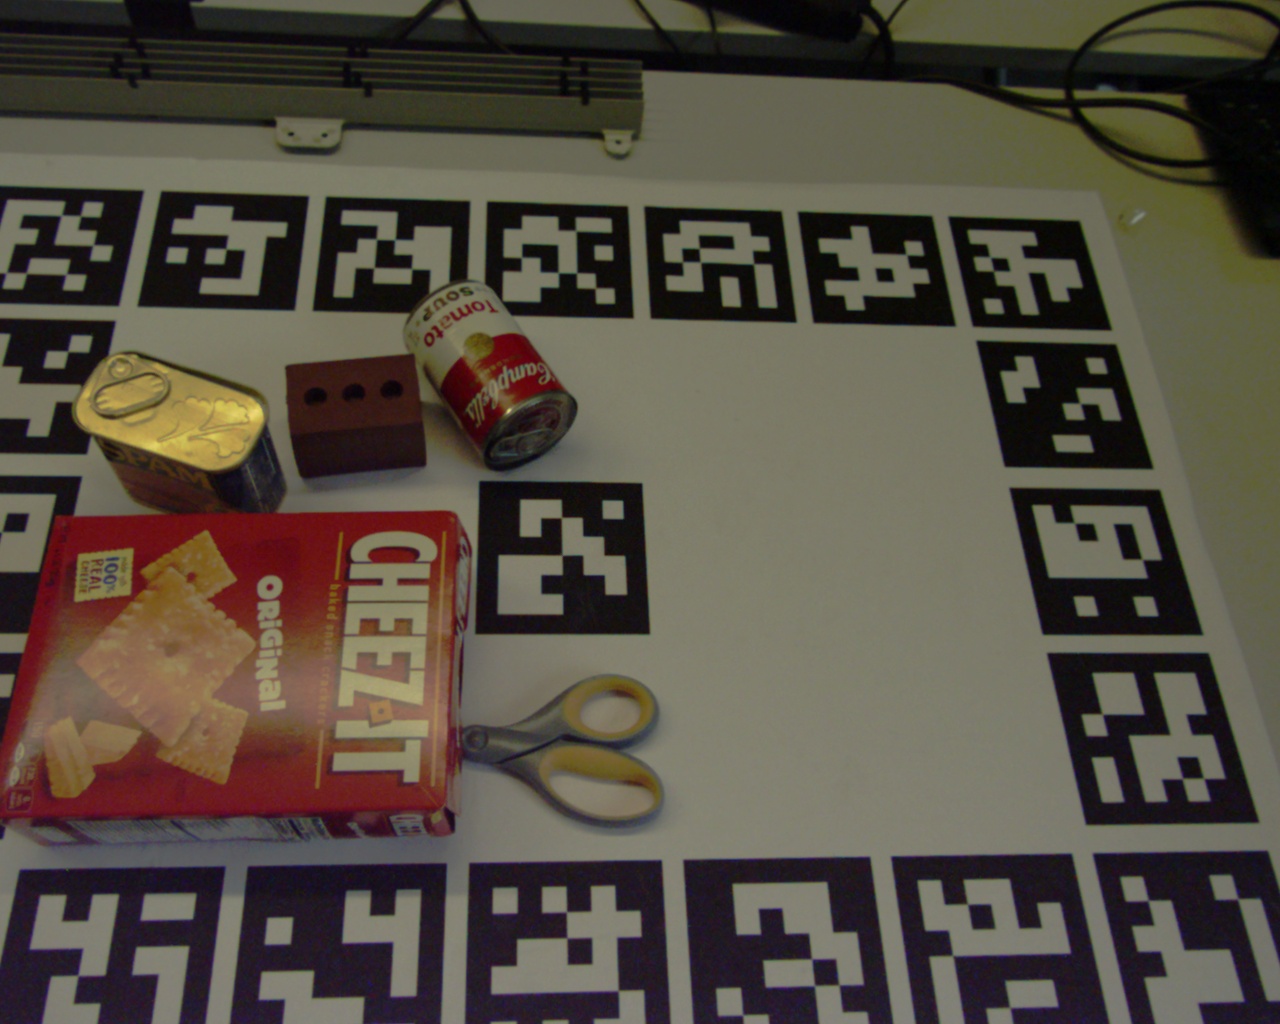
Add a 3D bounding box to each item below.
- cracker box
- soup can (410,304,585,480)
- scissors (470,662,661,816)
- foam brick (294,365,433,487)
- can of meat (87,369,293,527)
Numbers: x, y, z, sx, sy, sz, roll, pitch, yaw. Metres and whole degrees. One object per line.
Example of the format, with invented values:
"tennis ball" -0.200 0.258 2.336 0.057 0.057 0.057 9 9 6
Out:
"cracker box" -0.205 0.090 0.621 0.213 0.072 0.165 -6 64 -4
"soup can" -0.094 -0.079 0.744 0.067 0.068 0.103 -36 67 -20
"scissors" -0.091 0.135 0.644 0.202 0.016 0.088 -5 65 -7
"foam brick" -0.174 -0.054 0.725 0.078 0.051 0.053 -10 66 -11
"can of meat" -0.265 -0.033 0.685 0.102 0.084 0.058 13 64 0
